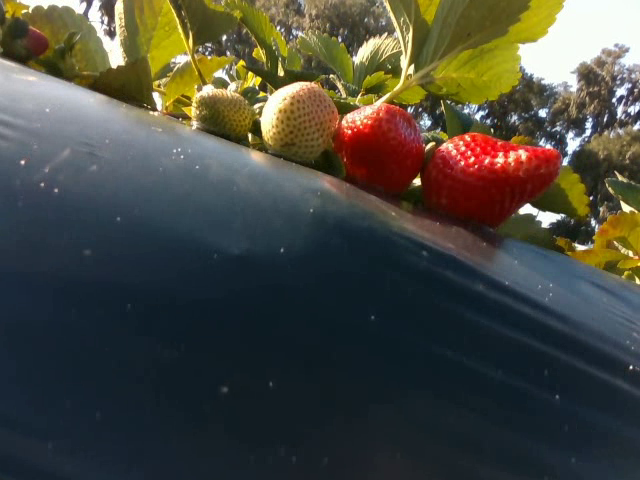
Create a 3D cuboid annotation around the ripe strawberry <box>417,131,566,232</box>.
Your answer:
[{"bbox_3d":[0.076,-0.026,0.256,0.056,0.052,0.067,-17,4,-41],"label":"ripe strawberry"}]

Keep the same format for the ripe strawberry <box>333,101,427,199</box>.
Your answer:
[{"bbox_3d":[0.025,-0.043,0.252,0.050,0.044,0.061,41,-4,11],"label":"ripe strawberry"}]
